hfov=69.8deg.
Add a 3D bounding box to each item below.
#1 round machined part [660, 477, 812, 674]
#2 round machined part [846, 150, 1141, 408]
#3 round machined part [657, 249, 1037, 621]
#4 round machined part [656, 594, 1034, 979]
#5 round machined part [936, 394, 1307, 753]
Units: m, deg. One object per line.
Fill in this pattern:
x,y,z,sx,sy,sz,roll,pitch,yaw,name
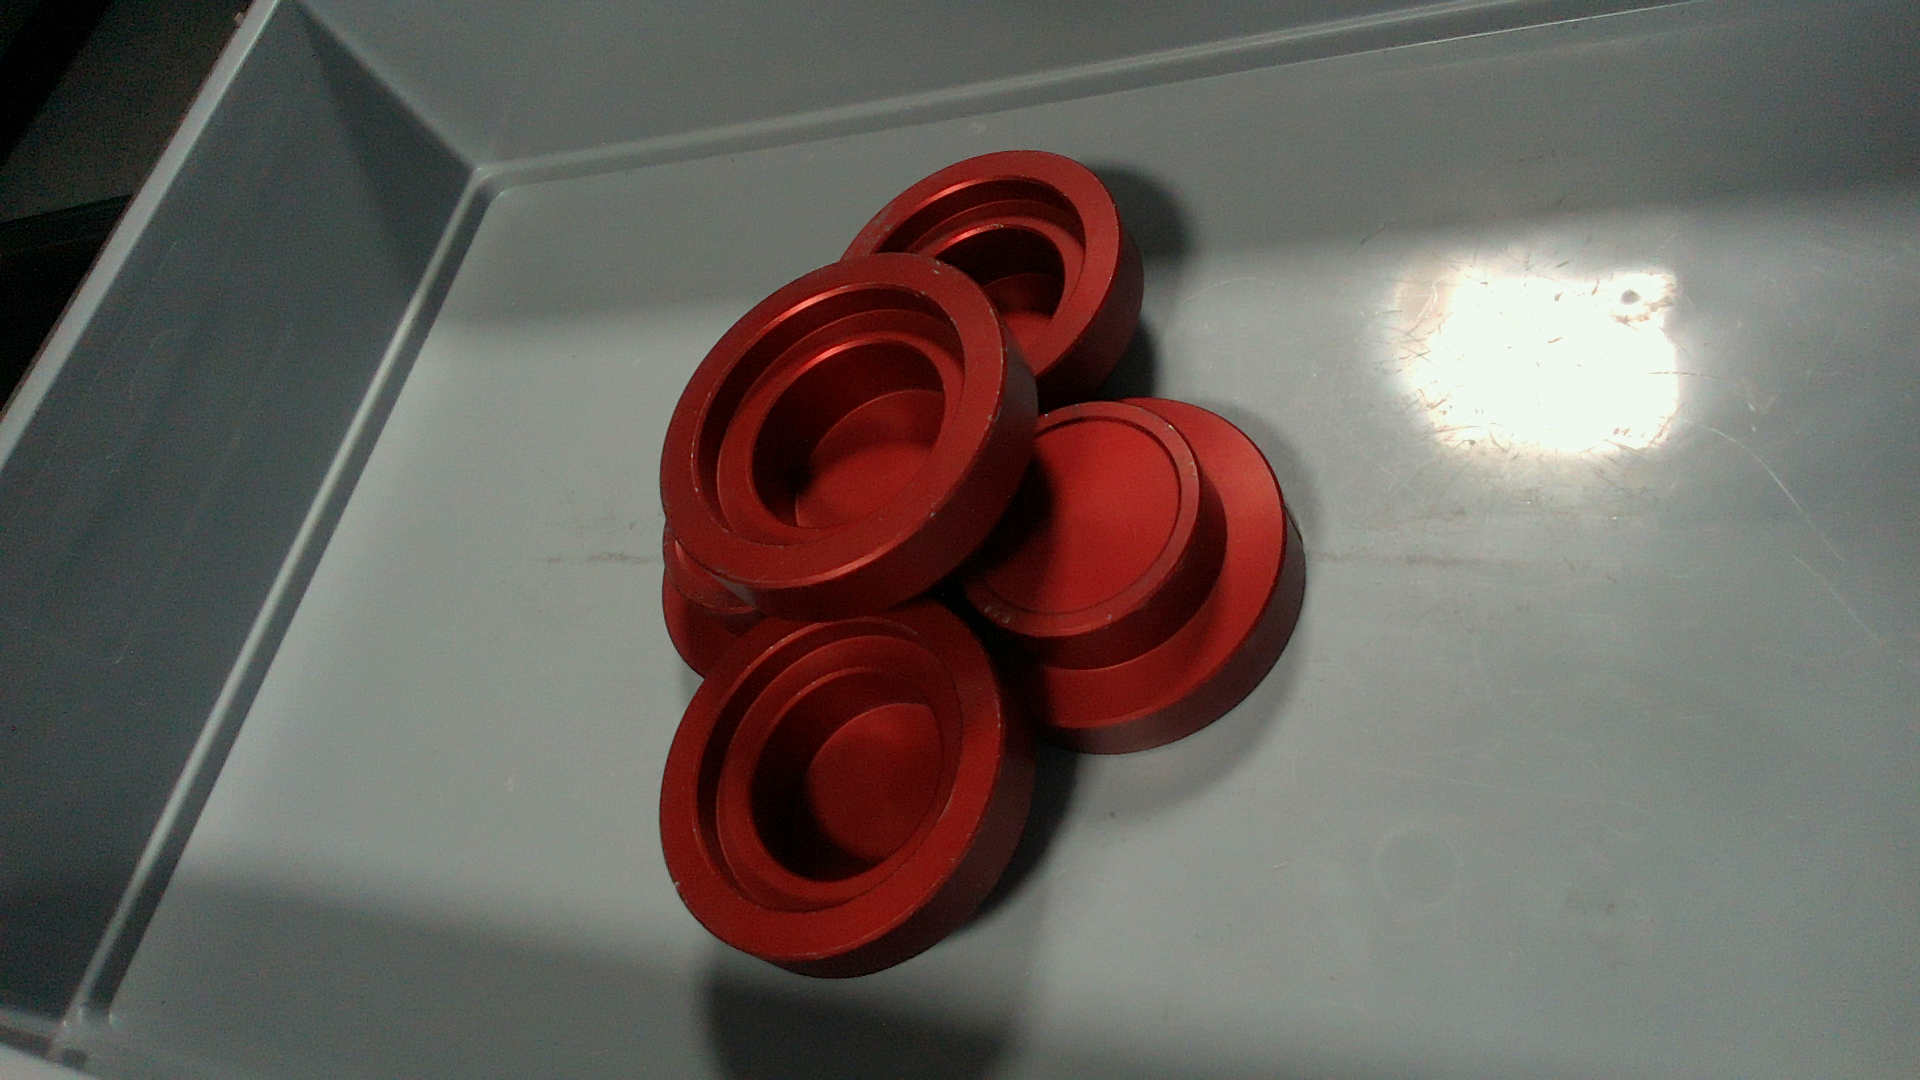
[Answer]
-0.049,0.000,0.408,0.098,0.042,0.098,-13,56,21,round machined part
0.009,-0.067,0.417,0.098,0.042,0.098,-13,56,21,round machined part
-0.025,-0.023,0.354,0.098,0.042,0.098,-13,56,21,round machined part
-0.026,0.063,0.356,0.098,0.042,0.098,-13,56,21,round machined part
0.037,0.002,0.359,0.098,0.042,0.098,-13,56,21,round machined part
